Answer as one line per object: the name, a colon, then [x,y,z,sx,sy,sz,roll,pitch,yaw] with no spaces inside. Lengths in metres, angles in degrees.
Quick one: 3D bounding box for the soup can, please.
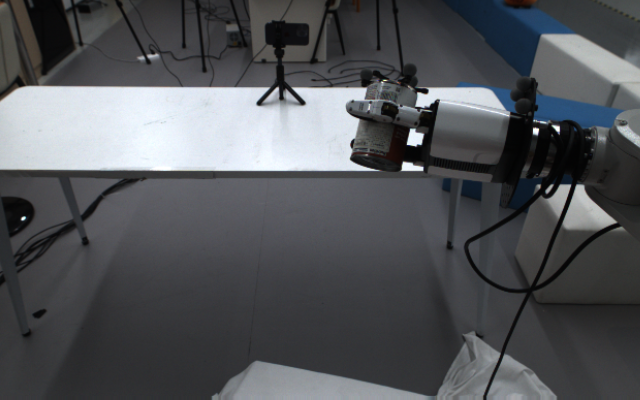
soup can: [0.083,-0.094,0.625,0.067,0.101,0.067,13,-6,1]
